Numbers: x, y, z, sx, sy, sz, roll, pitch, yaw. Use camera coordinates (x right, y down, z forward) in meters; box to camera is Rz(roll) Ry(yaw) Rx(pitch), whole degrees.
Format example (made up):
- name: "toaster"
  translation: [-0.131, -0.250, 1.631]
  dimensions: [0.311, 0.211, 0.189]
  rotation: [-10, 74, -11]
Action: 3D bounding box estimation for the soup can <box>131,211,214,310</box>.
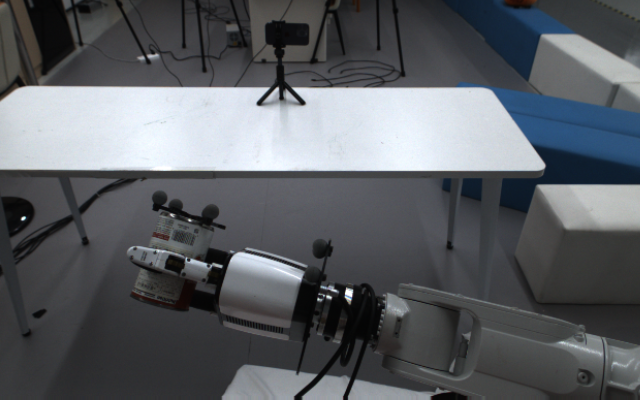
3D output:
- name: "soup can"
  translation: [-0.169, 0.073, 0.566]
  dimensions: [0.067, 0.067, 0.101]
  rotation: [13, 78, 15]
